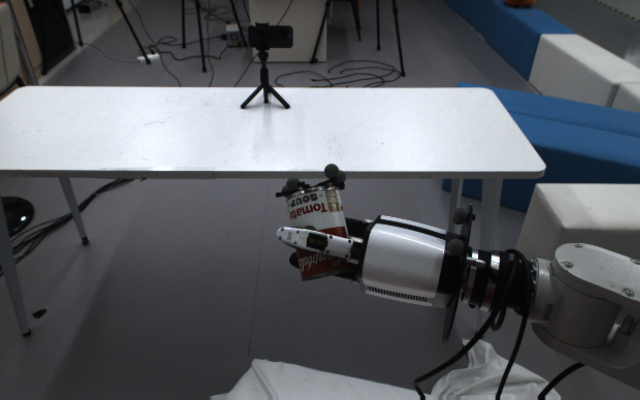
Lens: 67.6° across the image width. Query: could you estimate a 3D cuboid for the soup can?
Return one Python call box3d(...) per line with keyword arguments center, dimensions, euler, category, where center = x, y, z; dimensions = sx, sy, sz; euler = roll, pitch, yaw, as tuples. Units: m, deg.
box3d(center=(0.003, 0.041, 0.584), dimensions=(0.067, 0.067, 0.101), euler=(-10, 80, -16), category="soup can")
